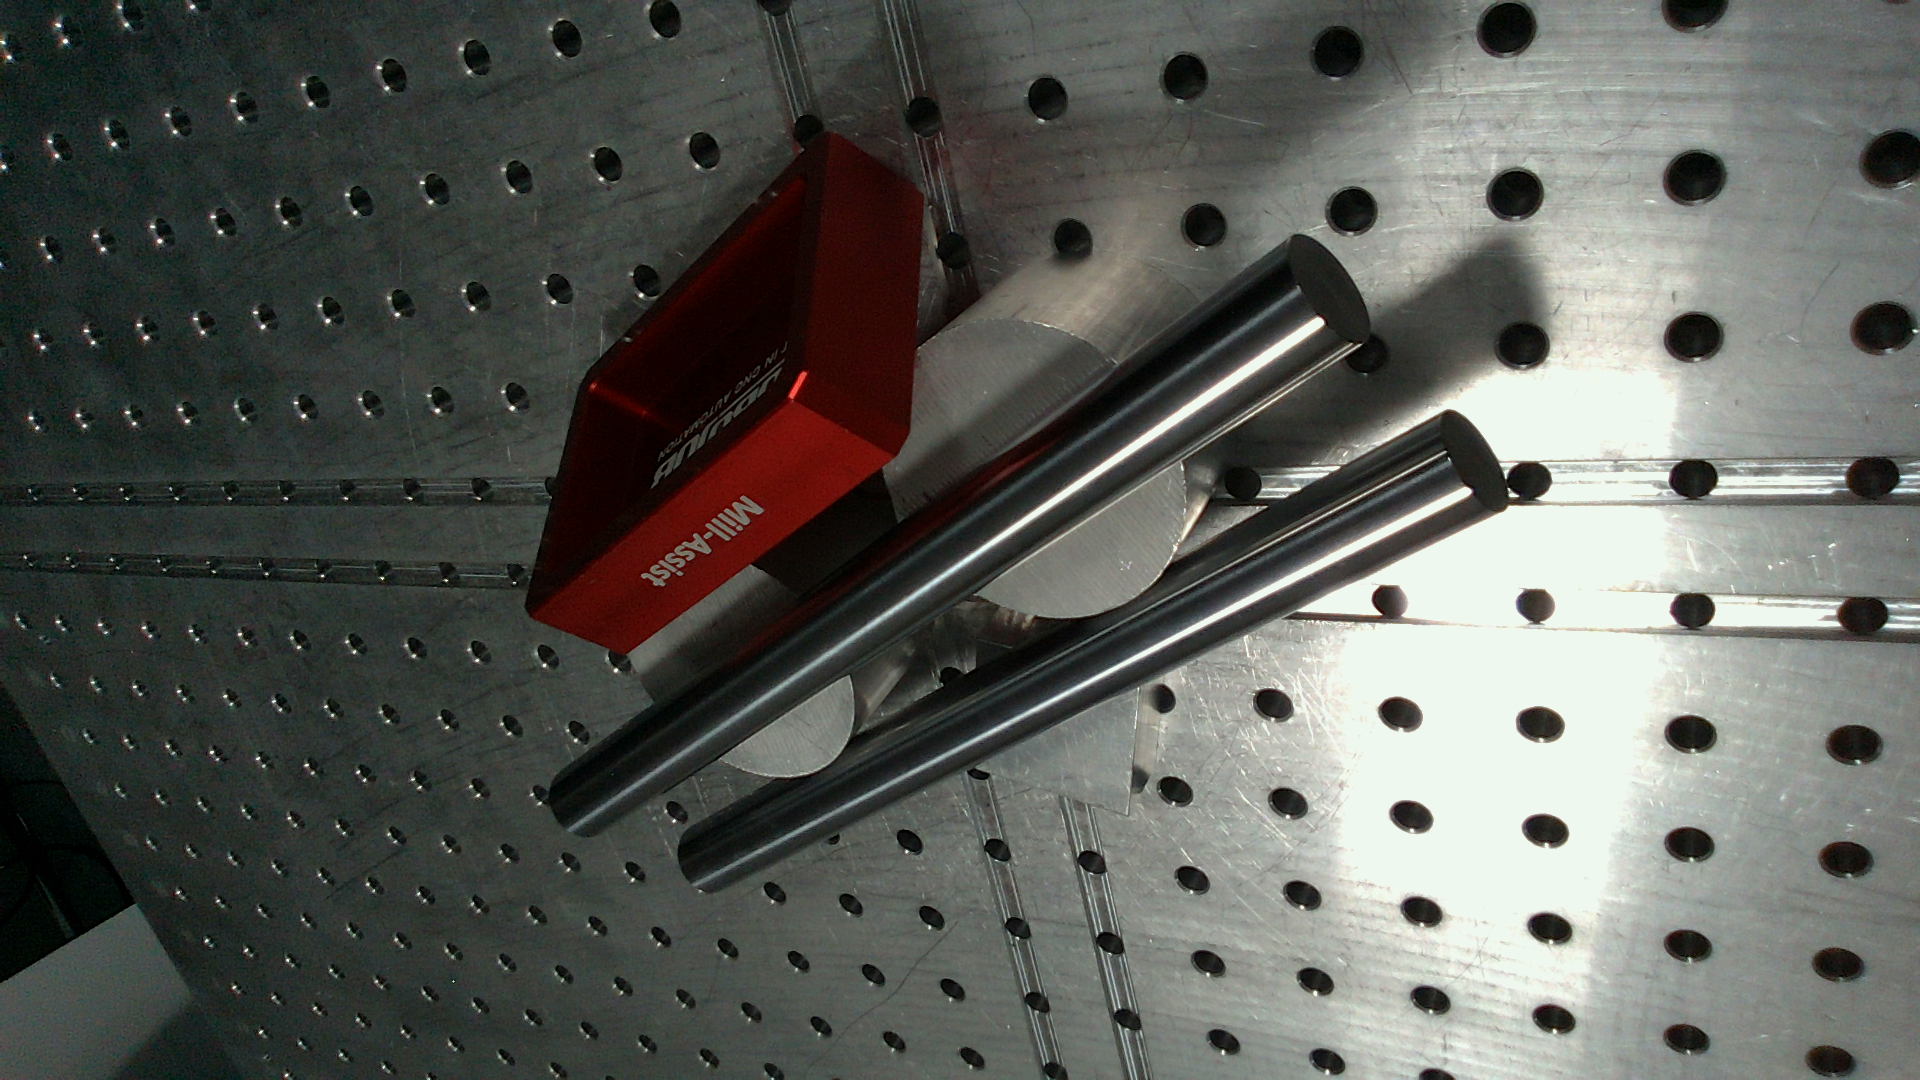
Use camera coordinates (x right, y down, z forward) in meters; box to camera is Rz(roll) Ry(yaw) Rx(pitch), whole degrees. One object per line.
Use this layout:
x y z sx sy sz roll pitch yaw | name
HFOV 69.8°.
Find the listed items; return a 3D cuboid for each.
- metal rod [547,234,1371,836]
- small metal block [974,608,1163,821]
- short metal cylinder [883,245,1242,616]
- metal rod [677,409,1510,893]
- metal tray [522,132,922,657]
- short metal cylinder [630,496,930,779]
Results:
-0.026 0.018 0.355 0.299 0.025 0.025 -34 99 38 | metal rod
0.032 0.050 0.408 0.050 0.025 0.050 14 124 21 | small metal block
0.026 -0.028 0.349 0.080 0.050 0.080 13 124 21 | short metal cylinder
0.011 0.047 0.385 0.299 0.025 0.025 -33 100 38 | metal rod
-0.064 -0.035 0.365 0.030 0.090 0.130 28 137 -32 | metal tray
-0.056 0.026 0.426 0.080 0.050 0.080 13 124 21 | short metal cylinder
